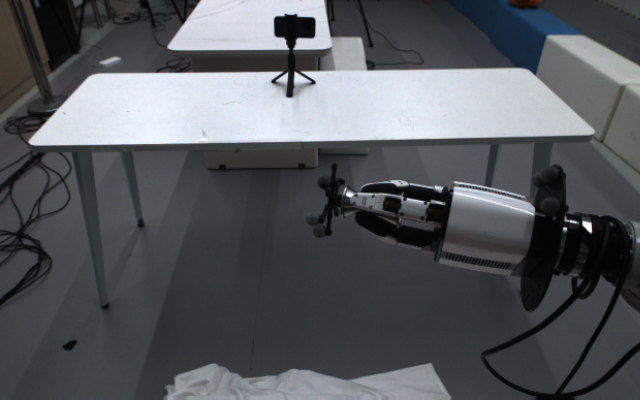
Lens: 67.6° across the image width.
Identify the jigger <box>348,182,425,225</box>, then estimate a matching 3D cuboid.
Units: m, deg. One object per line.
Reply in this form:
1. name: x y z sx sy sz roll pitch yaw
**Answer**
1. jigger: 0.069 0.002 0.565 0.071 0.043 0.043 7 35 16
